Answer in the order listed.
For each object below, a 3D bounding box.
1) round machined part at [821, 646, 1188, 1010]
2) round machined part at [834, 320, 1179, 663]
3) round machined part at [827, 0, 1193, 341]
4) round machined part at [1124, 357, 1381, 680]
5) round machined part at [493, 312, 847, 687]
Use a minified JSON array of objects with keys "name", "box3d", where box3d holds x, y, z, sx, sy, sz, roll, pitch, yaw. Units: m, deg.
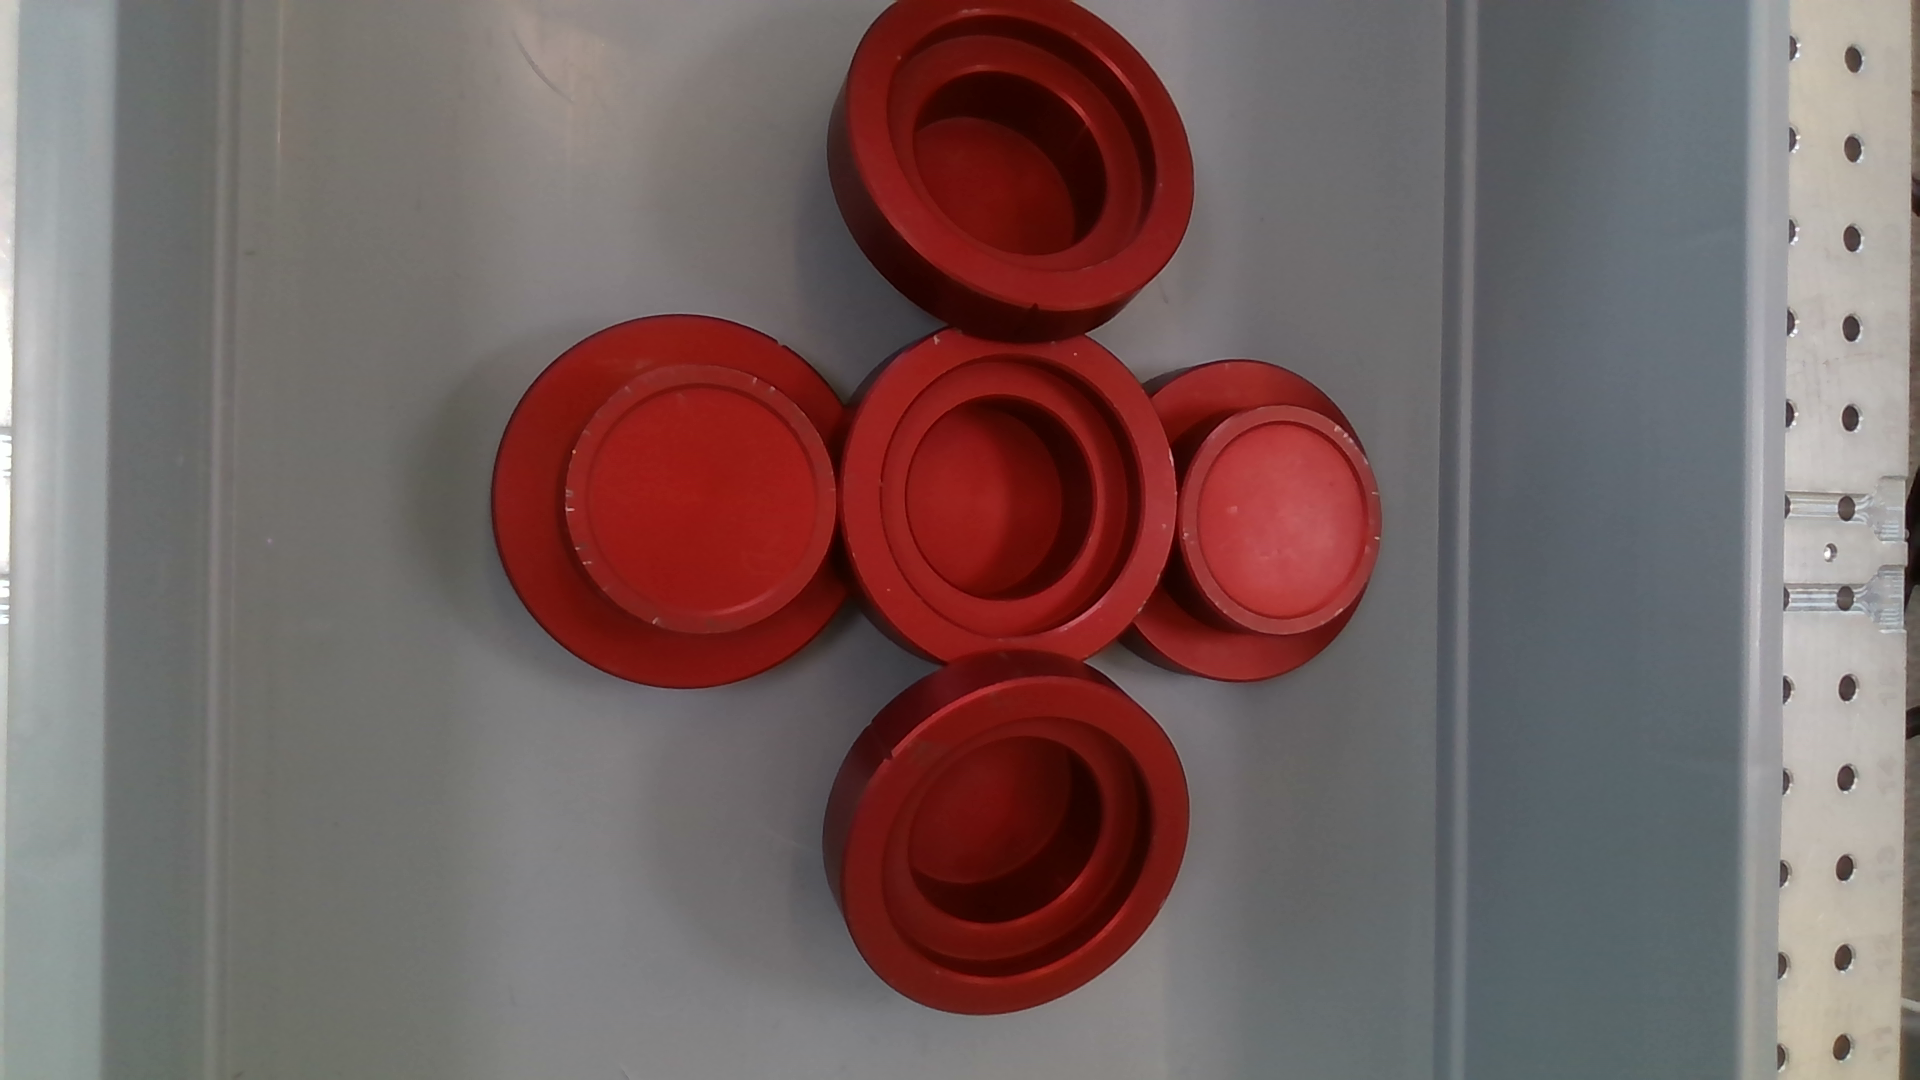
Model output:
[{"name":"round machined part","box3d":[0.009,0.075,0.379,0.098,0.042,0.098,-6,108,-18]},{"name":"round machined part","box3d":[0.008,-0.012,0.386,0.098,0.042,0.098,0,90,-20]},{"name":"round machined part","box3d":[0.011,-0.099,0.379,0.098,0.042,0.098,6,70,-18]},{"name":"round machined part","box3d":[0.086,-0.007,0.415,0.098,0.042,0.098,0,90,-20]},{"name":"round machined part","box3d":[-0.070,-0.011,0.358,0.098,0.042,0.098,0,90,-20]}]
